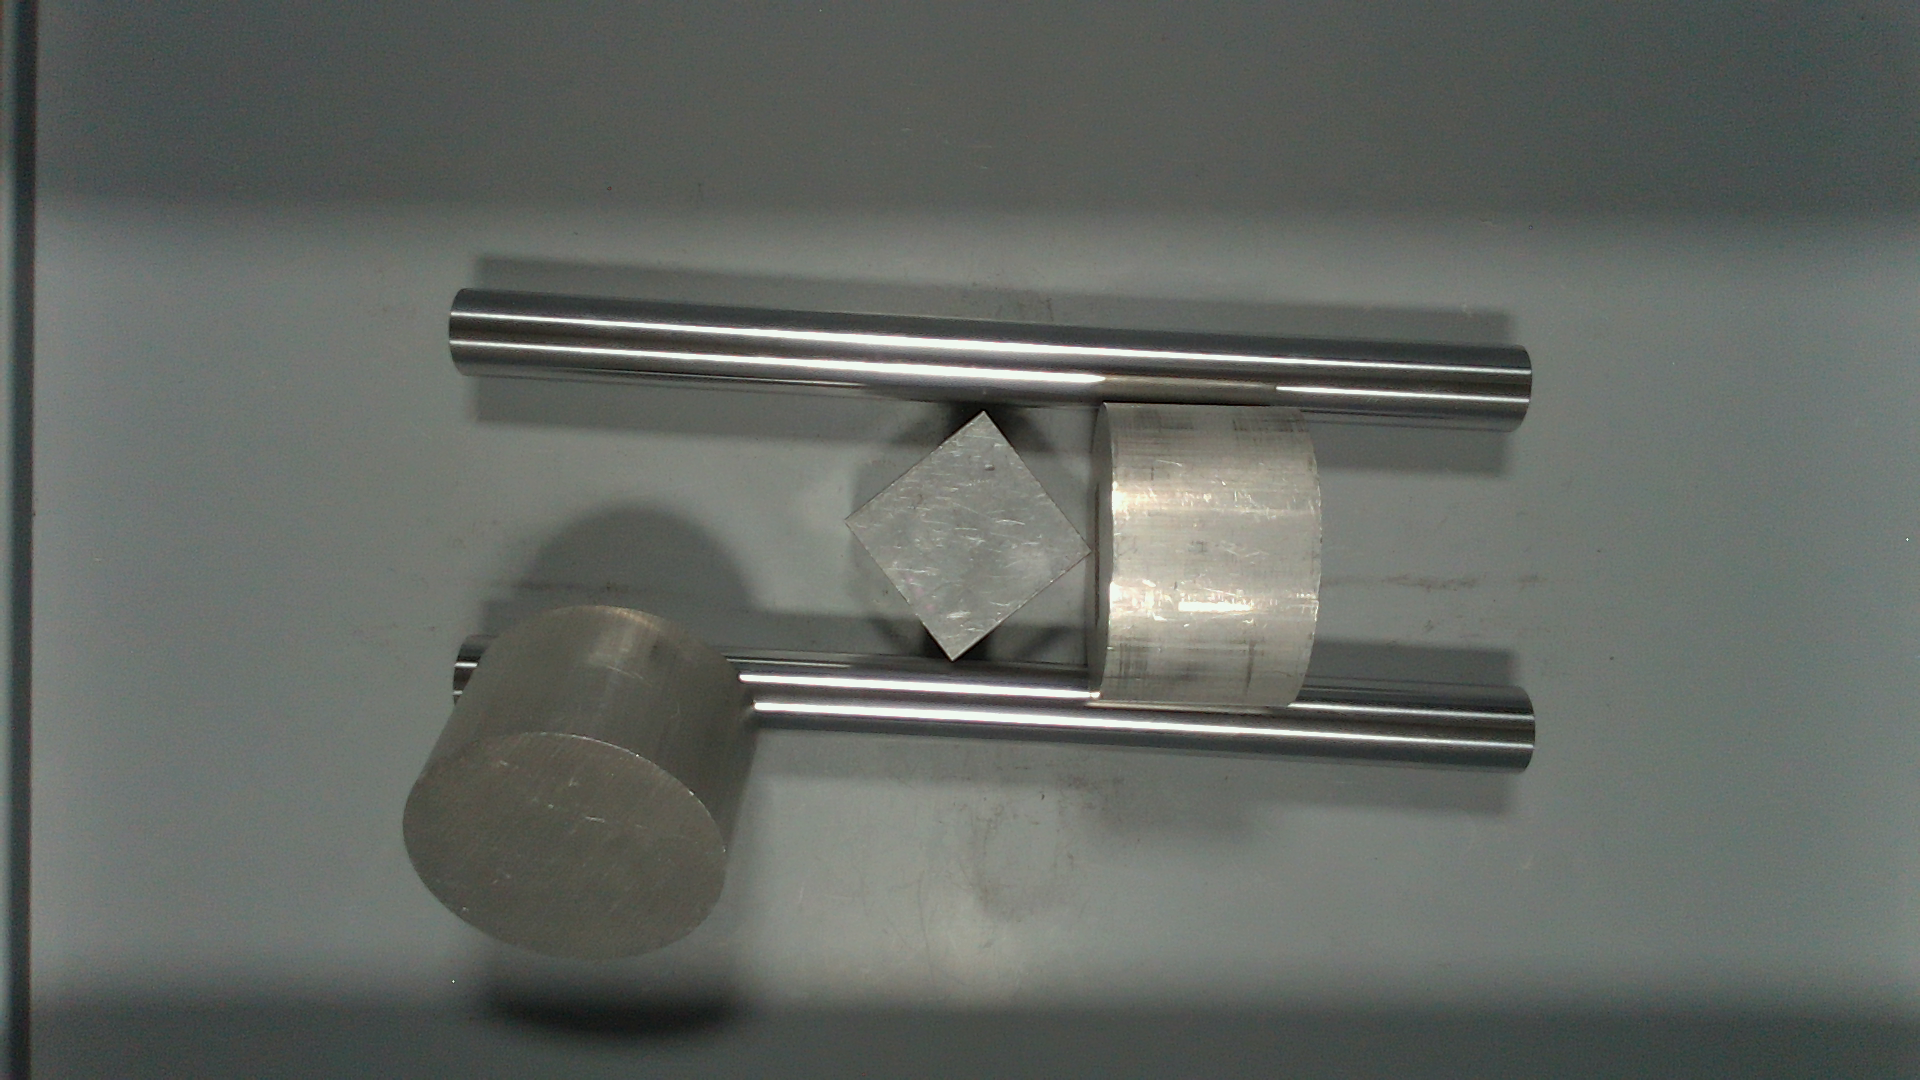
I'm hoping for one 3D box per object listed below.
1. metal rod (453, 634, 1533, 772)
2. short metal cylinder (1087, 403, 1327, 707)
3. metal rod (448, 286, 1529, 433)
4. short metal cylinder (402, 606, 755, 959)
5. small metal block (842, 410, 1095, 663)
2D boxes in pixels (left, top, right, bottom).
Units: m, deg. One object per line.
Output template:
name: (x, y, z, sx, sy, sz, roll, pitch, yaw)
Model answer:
metal rod: (0.009, 0.047, 0.394, 0.300, 0.025, 0.025, 3, 90, 0)
short metal cylinder: (0.062, 0.004, 0.367, 0.050, 0.080, 0.080, 2, 90, 0)
metal rod: (0.008, -0.051, 0.393, 0.300, 0.025, 0.025, 3, 90, 0)
short metal cylinder: (-0.098, 0.064, 0.364, 0.080, 0.050, 0.080, 1, 124, 1)
small metal block: (0.002, -0.001, 0.394, 0.050, 0.025, 0.050, -38, 90, 0)
